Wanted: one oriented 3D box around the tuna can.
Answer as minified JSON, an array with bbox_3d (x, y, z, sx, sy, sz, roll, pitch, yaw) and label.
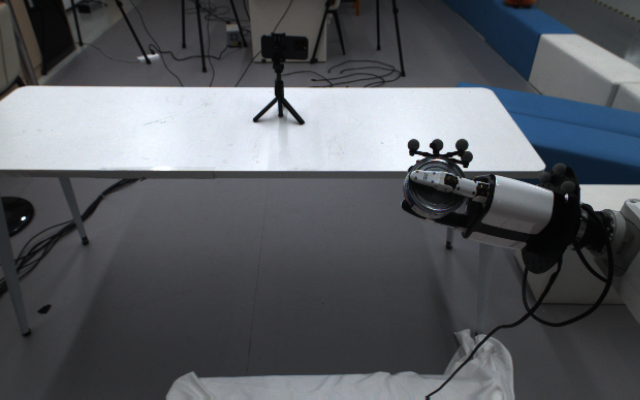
[{"bbox_3d":[0.164,-0.022,0.691,0.085,0.034,0.085,1,72,-3],"label":"tuna can"}]
